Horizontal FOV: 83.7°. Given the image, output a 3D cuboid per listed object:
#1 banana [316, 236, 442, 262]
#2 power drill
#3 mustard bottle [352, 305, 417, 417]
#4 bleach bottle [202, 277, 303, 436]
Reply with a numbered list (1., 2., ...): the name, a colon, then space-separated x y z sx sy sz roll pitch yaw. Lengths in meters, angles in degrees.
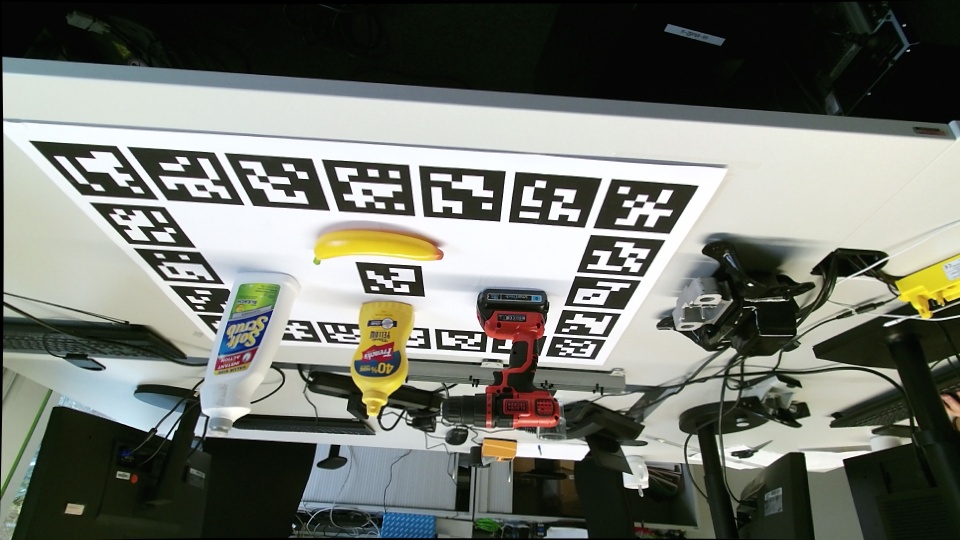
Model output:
1. banana: -0.153 -0.019 0.765 0.198 0.038 0.074 -2 144 3
2. power drill: 0.022 0.164 0.852 0.185 0.186 0.057 -3 146 2
3. mustard bottle: -0.167 0.153 0.908 0.096 0.190 0.058 0 146 8
4. bleach bottle: -0.358 0.132 0.837 0.103 0.249 0.068 8 146 -7
